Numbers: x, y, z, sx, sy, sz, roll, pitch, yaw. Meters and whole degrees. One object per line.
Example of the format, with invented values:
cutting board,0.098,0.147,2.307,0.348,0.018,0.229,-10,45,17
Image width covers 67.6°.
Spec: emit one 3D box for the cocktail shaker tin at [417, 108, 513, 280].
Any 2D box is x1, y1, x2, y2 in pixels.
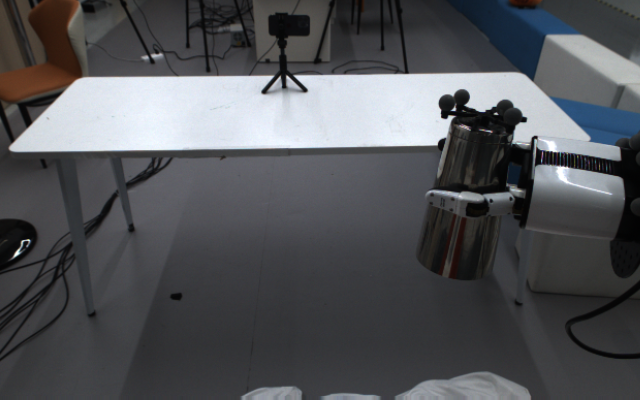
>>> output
cocktail shaker tin,0.170,-0.005,0.554,0.093,0.170,0.093,3,25,-1
